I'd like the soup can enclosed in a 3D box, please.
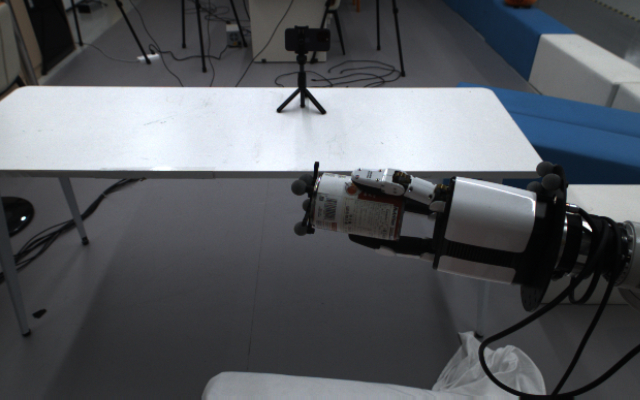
[{"bbox_3d":[0.048,0.007,0.561,0.101,0.067,0.067,9,35,9],"label":"soup can"}]
